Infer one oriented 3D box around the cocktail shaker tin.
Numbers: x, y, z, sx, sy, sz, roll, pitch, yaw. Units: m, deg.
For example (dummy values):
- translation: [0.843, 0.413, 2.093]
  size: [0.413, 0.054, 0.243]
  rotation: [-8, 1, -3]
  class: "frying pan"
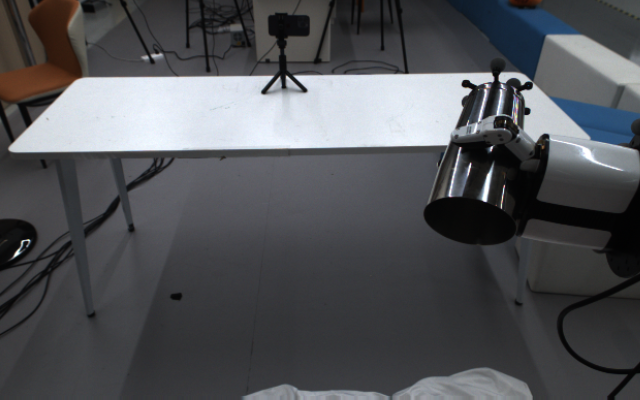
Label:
- translation: [0.179, -0.047, 0.531]
  size: [0.093, 0.093, 0.170]
  rotation: [14, 60, 17]
  class: "cocktail shaker tin"
